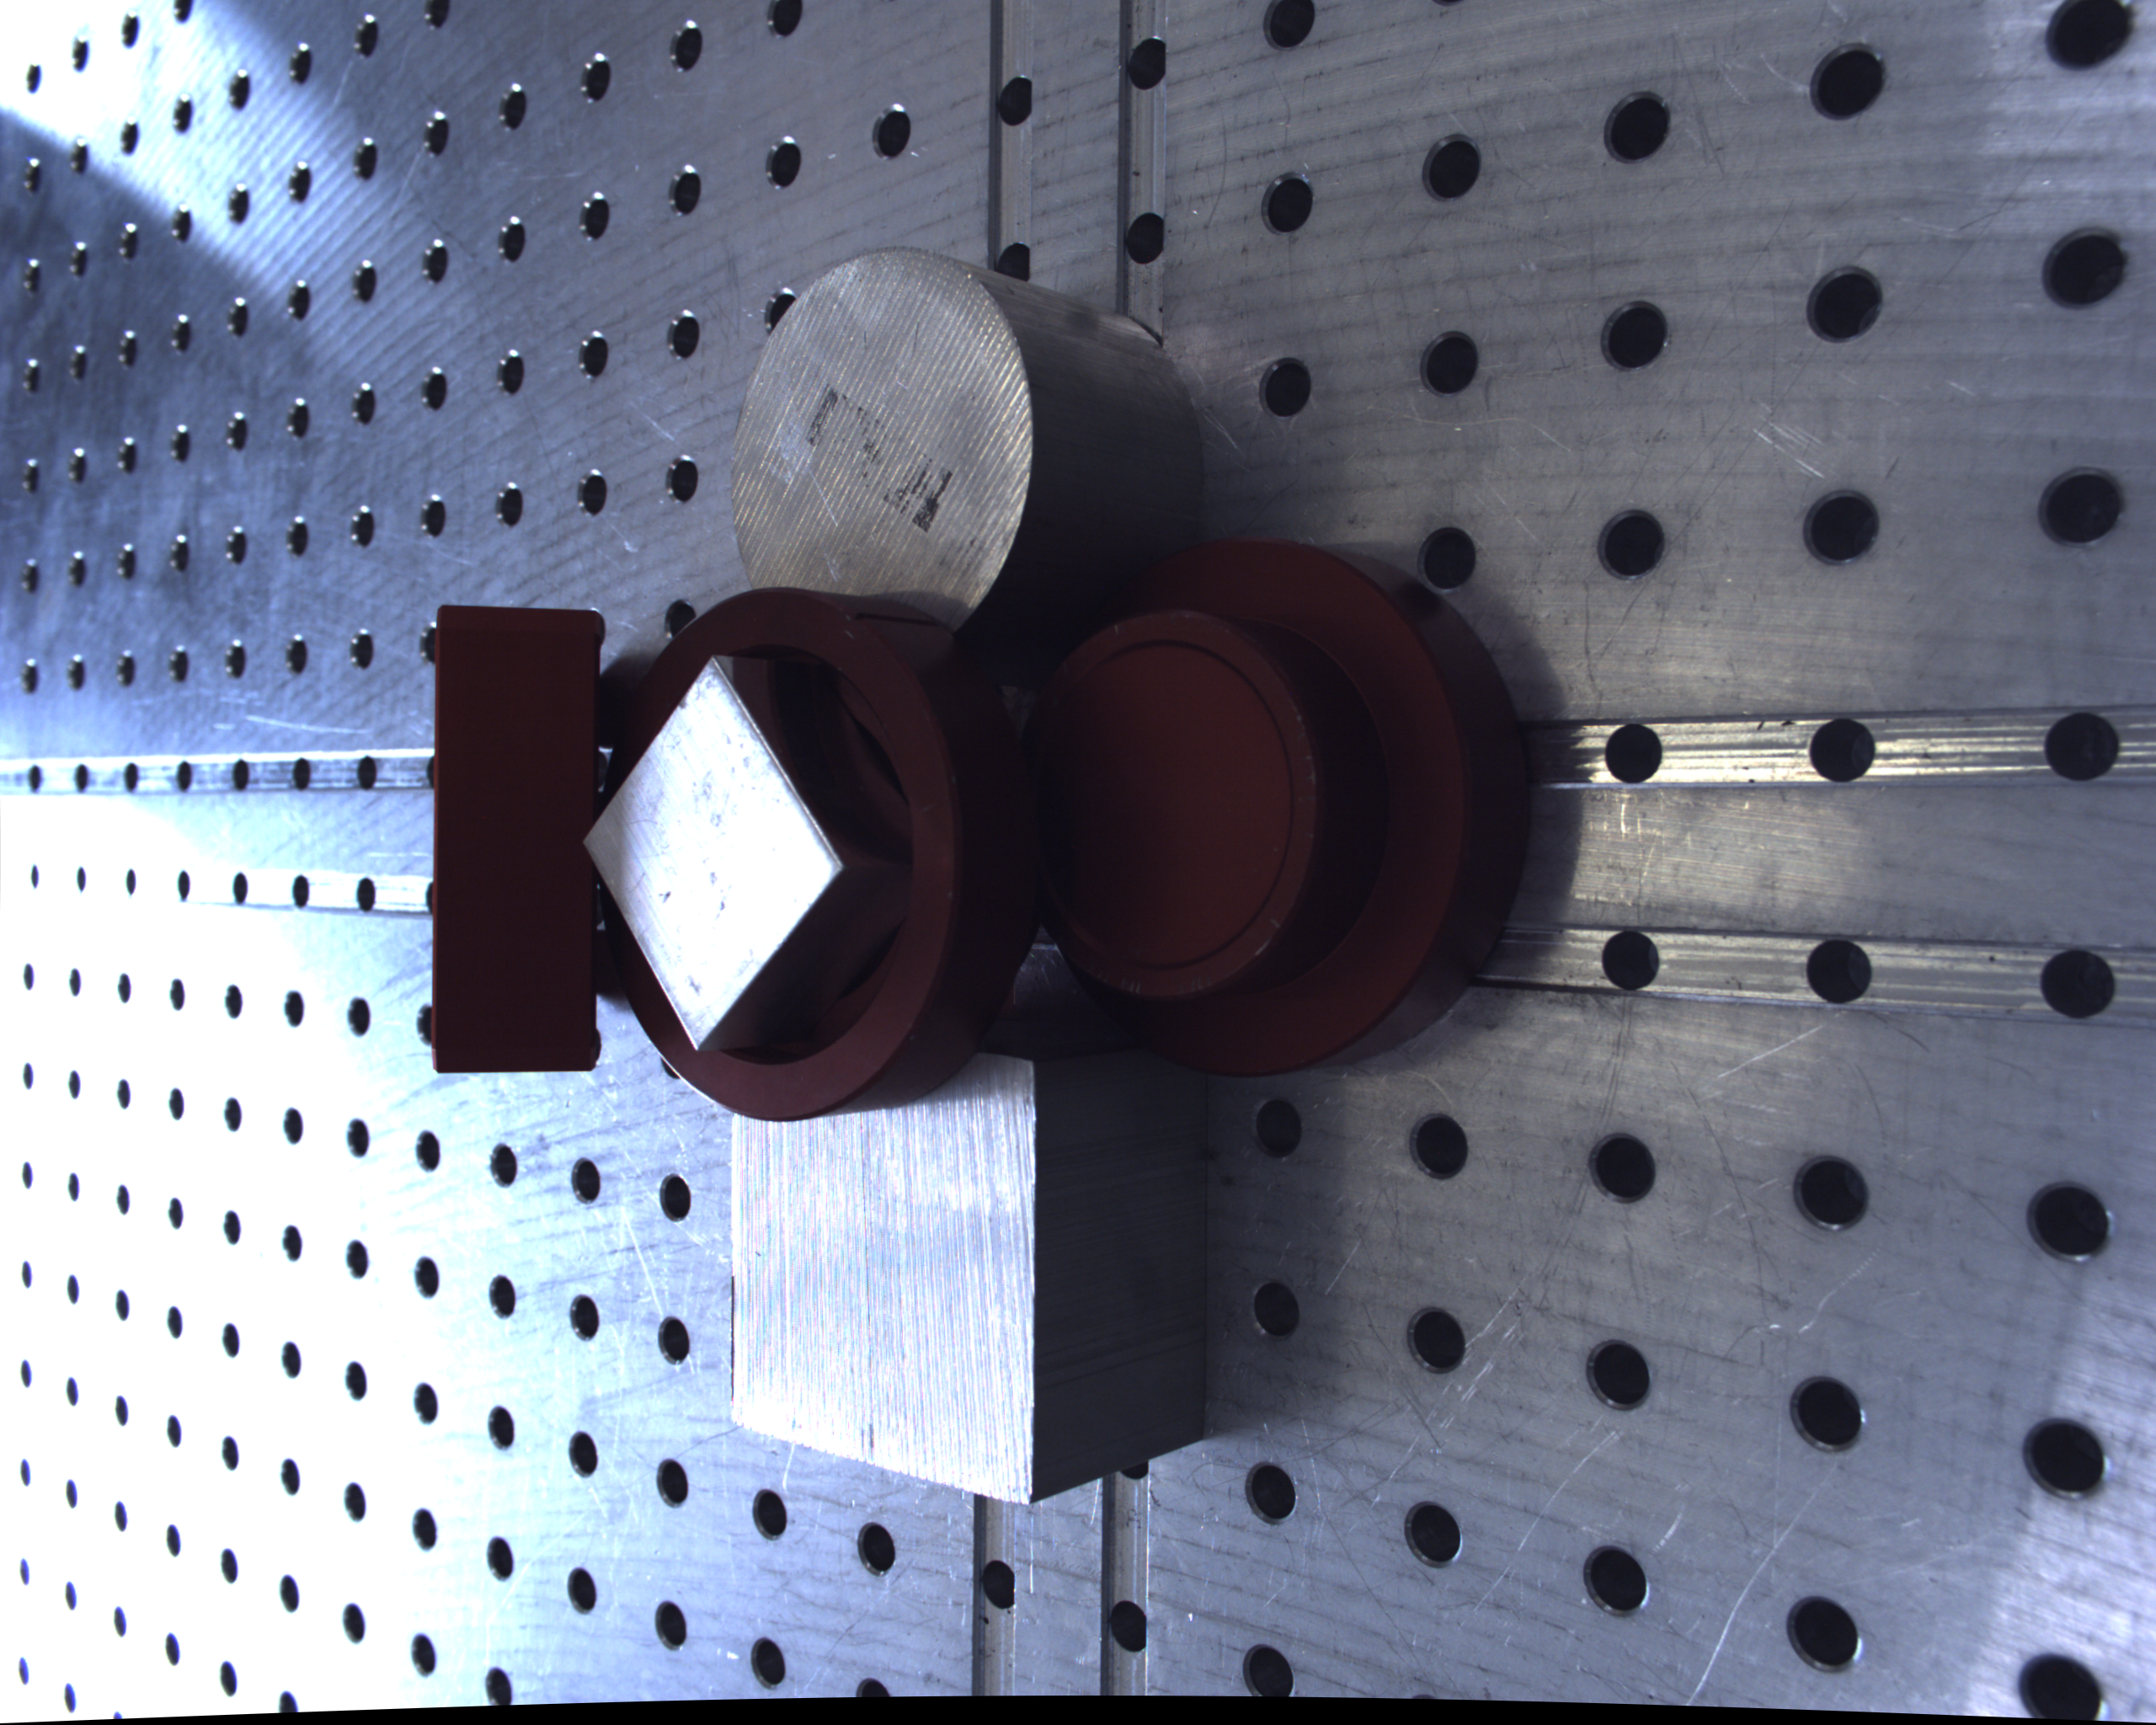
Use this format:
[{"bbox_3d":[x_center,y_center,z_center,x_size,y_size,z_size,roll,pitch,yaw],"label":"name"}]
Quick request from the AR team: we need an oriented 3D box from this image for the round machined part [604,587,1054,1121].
[{"bbox_3d":[-0.044,-0.002,0.397,0.098,0.042,0.097,0,90,40],"label":"round machined part"}]

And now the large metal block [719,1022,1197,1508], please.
[{"bbox_3d":[-0.024,0.072,0.410,0.080,0.050,0.080,1,91,40],"label":"large metal block"}]

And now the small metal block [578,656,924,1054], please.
[{"bbox_3d":[-0.058,-0.001,0.377,0.050,0.025,0.050,-49,61,29],"label":"small metal block"}]

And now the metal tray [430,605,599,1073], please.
[{"bbox_3d":[-0.122,-0.006,0.460,0.130,0.030,0.089,-175,86,-77],"label":"metal tray"}]

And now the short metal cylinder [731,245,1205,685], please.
[{"bbox_3d":[-0.022,-0.076,0.411,0.080,0.050,0.080,0,90,40],"label":"short metal cylinder"}]

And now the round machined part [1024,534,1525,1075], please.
[{"bbox_3d":[0.026,-0.010,0.375,0.098,0.042,0.097,0,90,40],"label":"round machined part"}]
